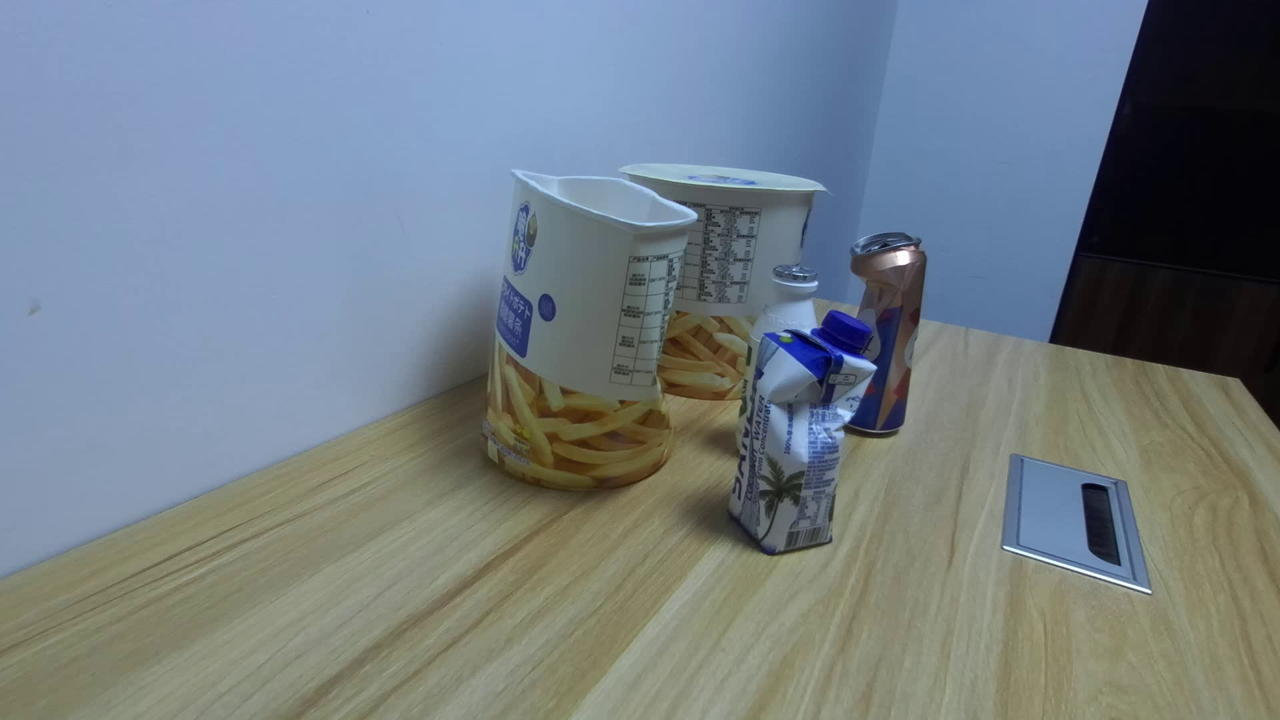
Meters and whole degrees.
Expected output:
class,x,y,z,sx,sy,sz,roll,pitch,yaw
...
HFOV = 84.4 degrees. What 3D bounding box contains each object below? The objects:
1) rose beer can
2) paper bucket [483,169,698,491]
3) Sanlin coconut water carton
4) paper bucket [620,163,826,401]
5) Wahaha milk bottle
class,x,y,z,sx,sy,sz,roll,pitch,yaw
rose beer can,0.203,-0.021,0.597,0.070,0.168,0.069,-17,27,-41
paper bucket,-0.038,-0.029,0.509,0.217,0.199,0.148,23,26,39
Sanlin coconut water carton,0.097,0.042,0.426,0.070,0.143,0.060,-3,22,-24
paper bucket,0.065,-0.077,0.675,0.198,0.194,0.198,4,20,-1
Wahaha milk bottle,0.108,0.003,0.530,0.053,0.147,0.053,3,25,-1
